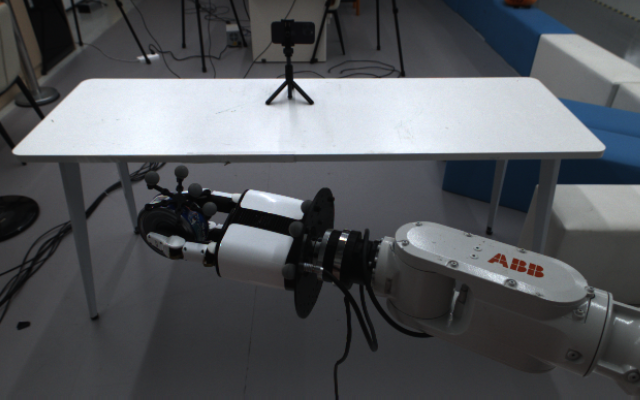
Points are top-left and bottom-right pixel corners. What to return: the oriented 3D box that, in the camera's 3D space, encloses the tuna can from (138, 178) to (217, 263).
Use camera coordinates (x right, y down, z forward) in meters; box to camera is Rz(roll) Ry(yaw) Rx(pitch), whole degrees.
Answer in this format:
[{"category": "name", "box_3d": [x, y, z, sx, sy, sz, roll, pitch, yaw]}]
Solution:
[{"category": "tuna can", "box_3d": [-0.187, 0.035, 0.619, 0.085, 0.085, 0.034, 12, 35, 13]}]
